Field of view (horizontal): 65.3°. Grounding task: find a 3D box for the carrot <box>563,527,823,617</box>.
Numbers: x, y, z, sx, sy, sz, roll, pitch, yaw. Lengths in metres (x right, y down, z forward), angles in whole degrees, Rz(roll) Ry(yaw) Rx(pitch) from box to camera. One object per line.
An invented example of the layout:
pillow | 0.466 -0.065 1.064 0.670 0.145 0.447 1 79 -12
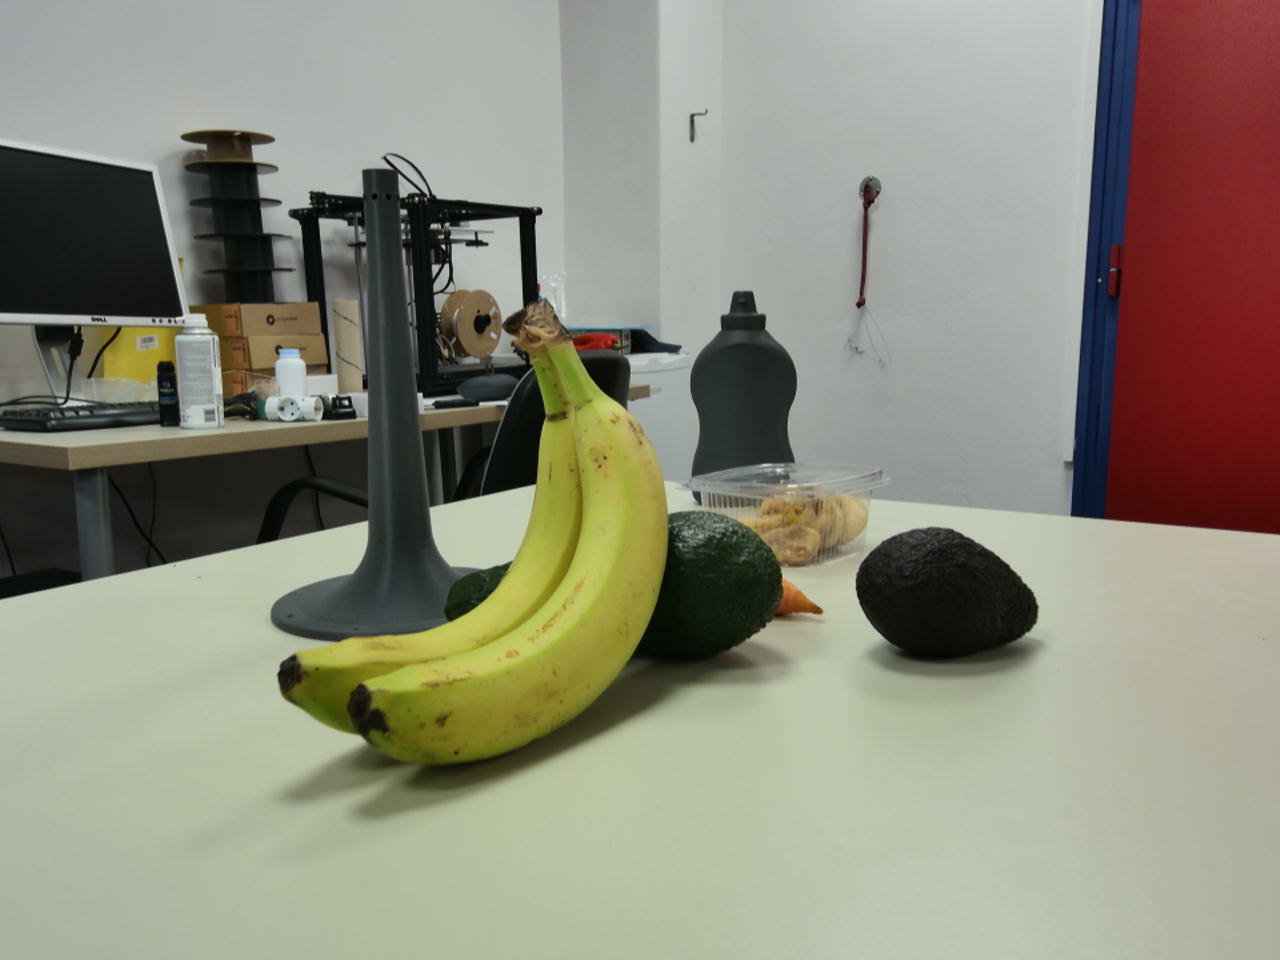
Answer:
carrot | 0.030 0.058 0.655 0.196 0.041 0.039 5 9 34
